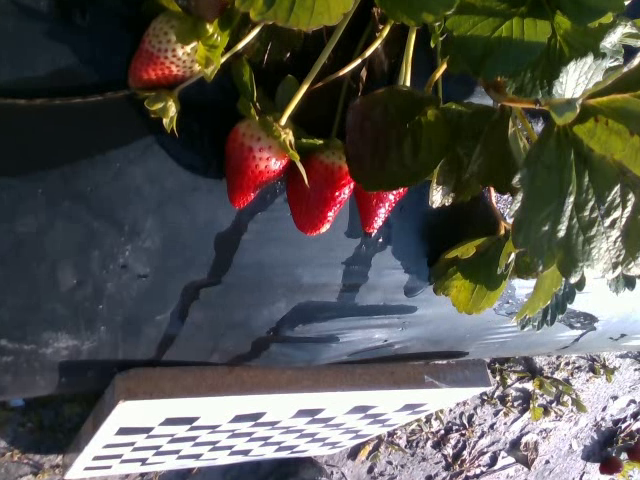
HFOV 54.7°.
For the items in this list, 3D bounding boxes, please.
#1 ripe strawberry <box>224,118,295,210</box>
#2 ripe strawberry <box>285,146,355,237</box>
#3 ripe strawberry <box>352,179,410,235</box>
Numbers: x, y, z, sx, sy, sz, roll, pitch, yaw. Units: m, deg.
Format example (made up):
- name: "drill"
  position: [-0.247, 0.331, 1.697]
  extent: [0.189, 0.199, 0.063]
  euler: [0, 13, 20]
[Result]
- name: "ripe strawberry"
  position: [-0.027, -0.028, 0.249]
  extent: [0.032, 0.023, 0.046]
  euler: [8, -48, -25]
- name: "ripe strawberry"
  position: [0.000, -0.020, 0.257]
  extent: [0.031, 0.039, 0.036]
  euler: [15, -10, -34]
- name: "ripe strawberry"
  position: [0.025, -0.020, 0.272]
  extent: [0.035, 0.041, 0.034]
  euler: [5, 7, -22]
